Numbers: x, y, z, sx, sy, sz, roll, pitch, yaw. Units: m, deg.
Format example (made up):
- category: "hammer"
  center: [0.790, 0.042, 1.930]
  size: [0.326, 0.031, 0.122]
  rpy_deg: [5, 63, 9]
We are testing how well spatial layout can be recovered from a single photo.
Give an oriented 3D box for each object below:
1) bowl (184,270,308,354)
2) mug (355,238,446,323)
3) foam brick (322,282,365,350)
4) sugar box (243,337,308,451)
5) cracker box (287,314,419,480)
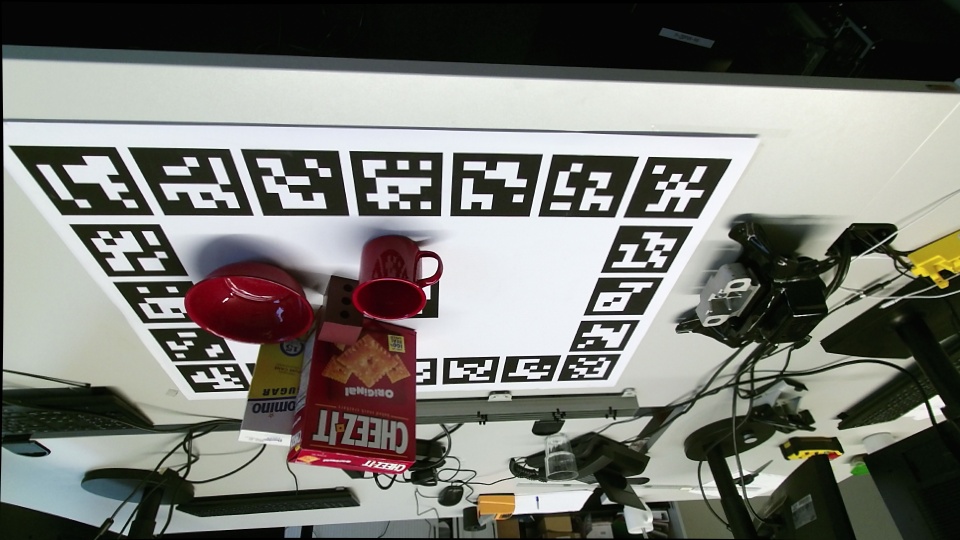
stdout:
- category: "bowl"
  center: [-0.311, 0.049, 0.718]
  size: [0.162, 0.055, 0.162]
  rpy_deg: [-4, 139, -3]
- category: "mug"
  center: [-0.102, 0.011, 0.689]
  size: [0.117, 0.081, 0.093]
  rpy_deg: [-8, 148, -1]
- category: "foam brick"
  center: [-0.191, 0.064, 0.757]
  size: [0.053, 0.077, 0.051]
  rpy_deg: [9, 139, -19]
- category: "sugar box"
  center: [-0.290, 0.181, 0.800]
  size: [0.093, 0.175, 0.045]
  rpy_deg: [13, 137, -23]
- category: "cracker box"
  center: [-0.177, 0.184, 0.791]
  size: [0.165, 0.212, 0.072]
  rpy_deg: [21, 136, -28]
